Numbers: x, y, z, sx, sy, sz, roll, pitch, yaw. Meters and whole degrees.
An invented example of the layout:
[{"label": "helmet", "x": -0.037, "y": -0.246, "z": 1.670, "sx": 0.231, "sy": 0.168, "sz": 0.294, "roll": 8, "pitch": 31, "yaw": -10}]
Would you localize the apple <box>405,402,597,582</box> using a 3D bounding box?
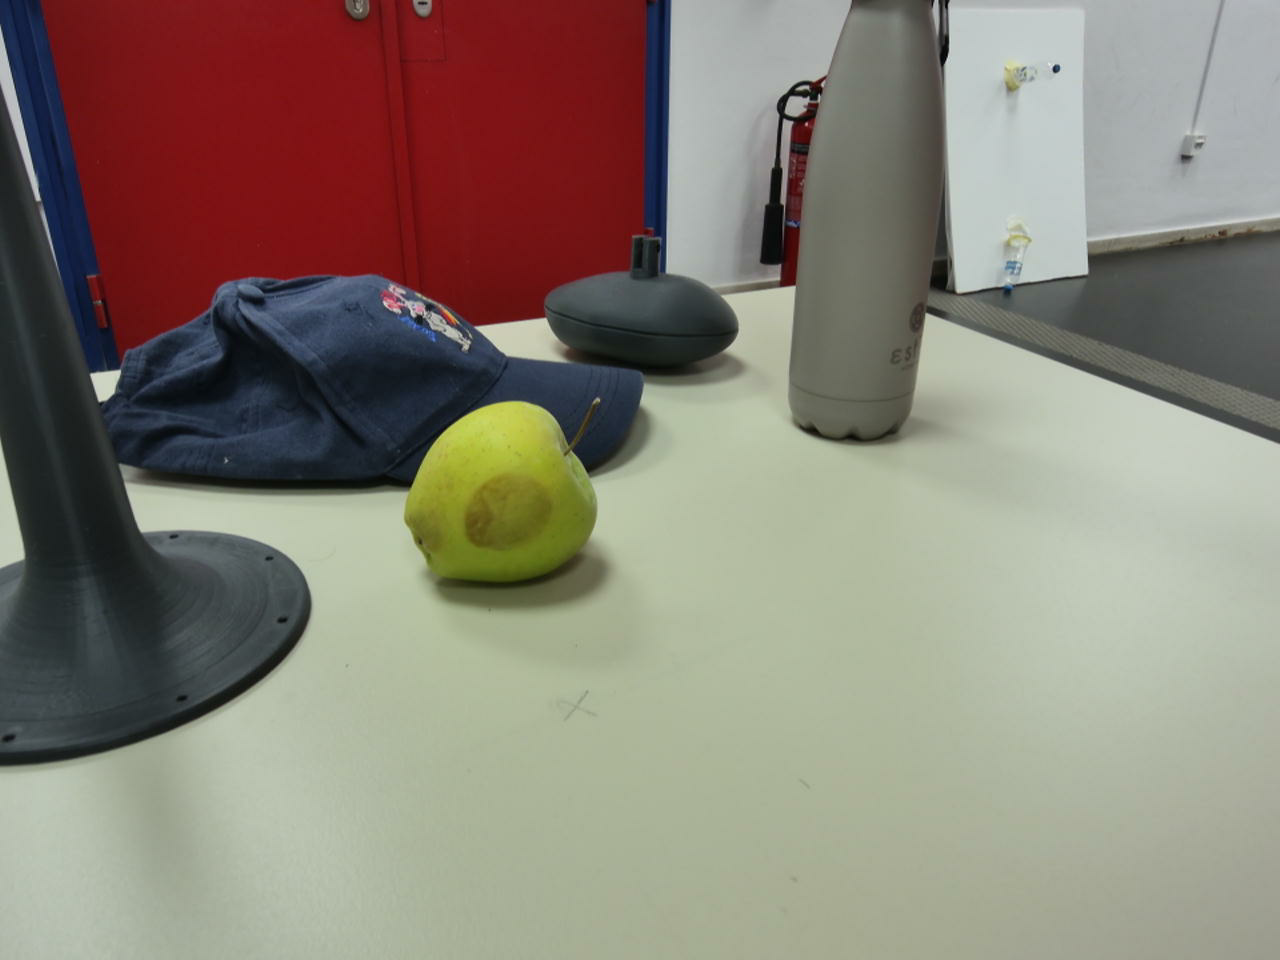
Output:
[{"label": "apple", "x": -0.057, "y": 0.005, "z": 0.422, "sx": 0.077, "sy": 0.075, "sz": 0.072, "roll": 9, "pitch": 25, "yaw": 16}]
